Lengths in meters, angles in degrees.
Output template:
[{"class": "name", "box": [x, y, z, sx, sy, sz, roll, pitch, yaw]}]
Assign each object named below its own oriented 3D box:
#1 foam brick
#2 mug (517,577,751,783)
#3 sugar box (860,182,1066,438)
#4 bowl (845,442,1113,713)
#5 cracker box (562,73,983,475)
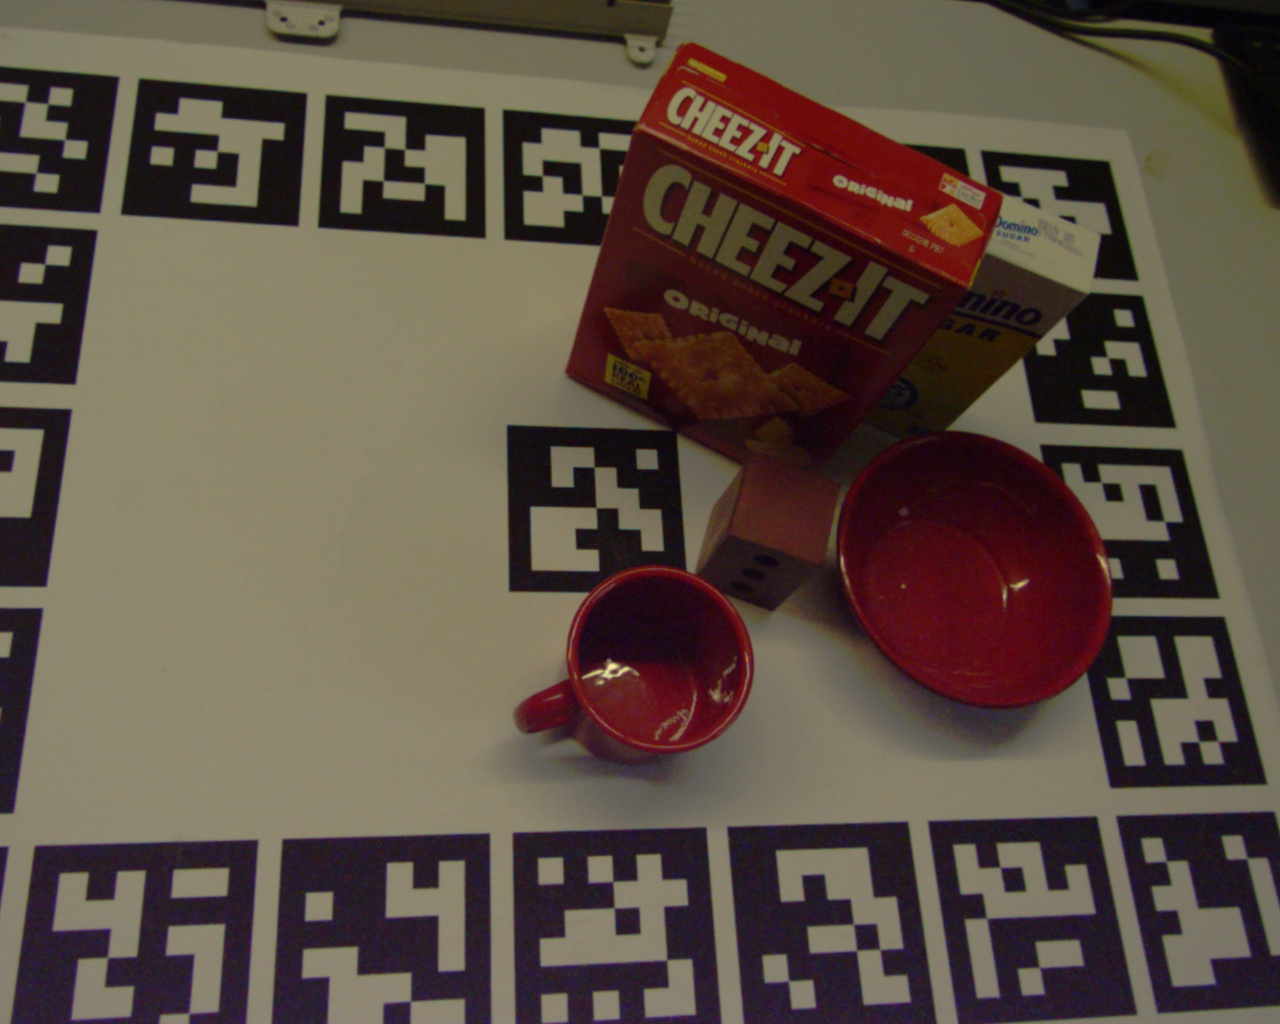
[{"class": "foam brick", "box": [0.065, 0.013, 0.659, 0.052, 0.078, 0.051, 15, 65, -5]}, {"class": "mug", "box": [-0.007, 0.095, 0.600, 0.116, 0.081, 0.094, -8, 62, -13]}, {"class": "sugar box", "box": [0.161, -0.112, 0.669, 0.093, 0.177, 0.045, 21, 65, -3]}, {"class": "bowl", "box": [0.188, 0.042, 0.666, 0.161, 0.055, 0.162, 4, 68, -10]}, {"class": "cracker box", "box": [0.057, -0.107, 0.628, 0.164, 0.214, 0.072, 29, 63, 0]}]
